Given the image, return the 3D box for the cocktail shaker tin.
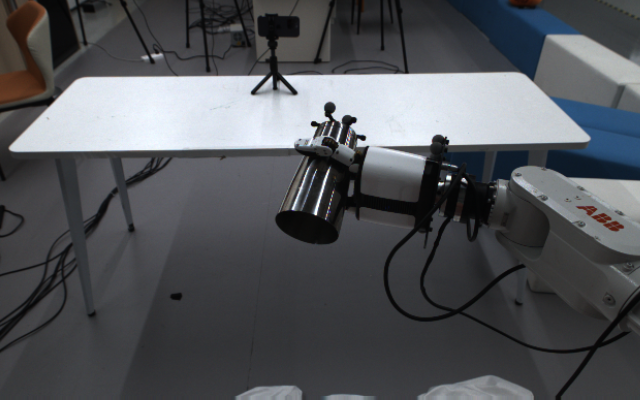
[{"bbox_3d":[0.005,-0.031,0.706,0.093,0.093,0.170,11,60,12],"label":"cocktail shaker tin"}]
